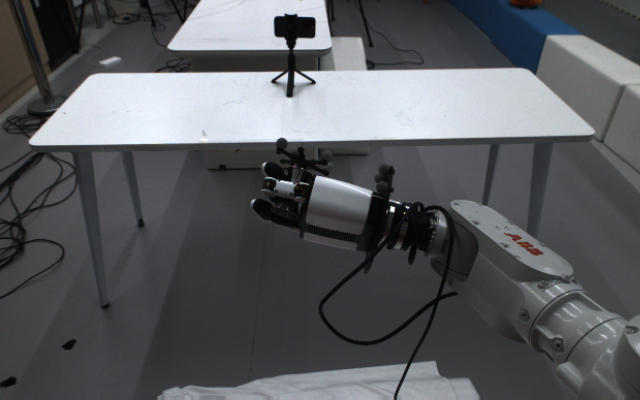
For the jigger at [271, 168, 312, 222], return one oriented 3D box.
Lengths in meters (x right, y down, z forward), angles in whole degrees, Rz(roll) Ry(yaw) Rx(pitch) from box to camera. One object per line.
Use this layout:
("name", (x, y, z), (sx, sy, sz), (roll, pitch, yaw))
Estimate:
("jigger", (-0.037, -0.011, 0.704), (0.043, 0.043, 0.071), (12, 71, 14))
